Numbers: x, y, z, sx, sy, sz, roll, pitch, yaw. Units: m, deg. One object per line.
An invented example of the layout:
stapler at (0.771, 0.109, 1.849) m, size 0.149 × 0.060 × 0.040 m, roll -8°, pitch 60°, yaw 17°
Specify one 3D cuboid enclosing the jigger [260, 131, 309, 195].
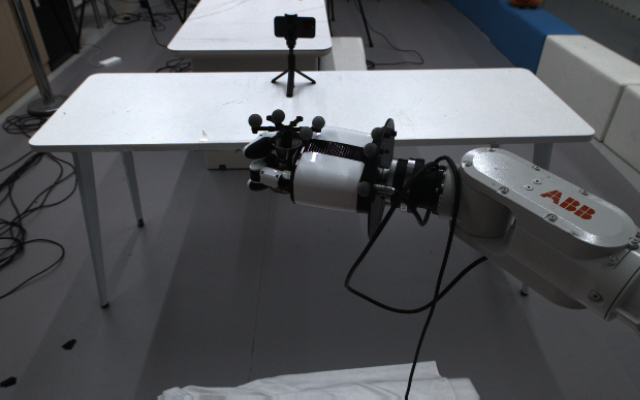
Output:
jigger at (-0.046, -0.051, 0.653) m, size 0.043 × 0.071 × 0.043 m, roll 4°, pitch 31°, yaw -2°
